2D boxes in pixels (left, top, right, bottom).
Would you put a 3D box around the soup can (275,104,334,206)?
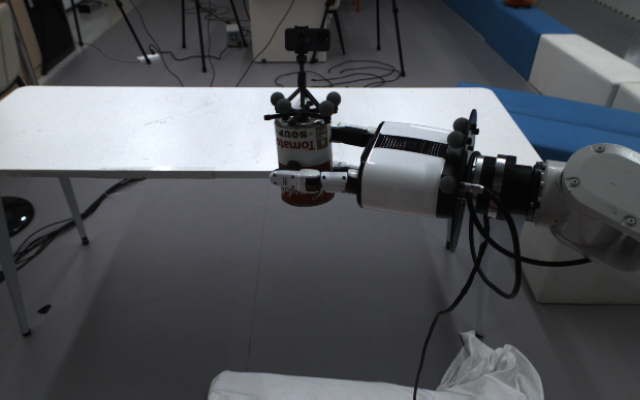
[{"bbox_3d":[-0.016,-0.052,0.587,0.067,0.101,0.067,-3,27,2],"label":"soup can"}]
